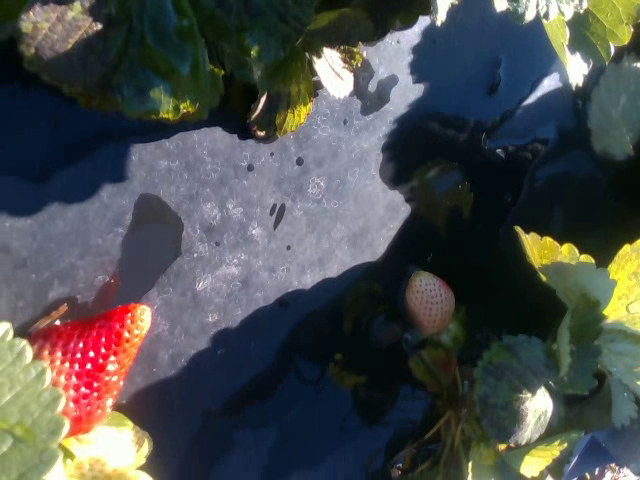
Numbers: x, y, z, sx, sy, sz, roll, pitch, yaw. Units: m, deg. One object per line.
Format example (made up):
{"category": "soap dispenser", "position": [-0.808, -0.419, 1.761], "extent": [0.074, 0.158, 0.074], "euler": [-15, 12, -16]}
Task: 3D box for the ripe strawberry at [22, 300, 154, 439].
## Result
{"category": "ripe strawberry", "position": [-0.086, 0.043, 0.225], "extent": [0.052, 0.064, 0.049], "euler": [44, -2, 19]}
